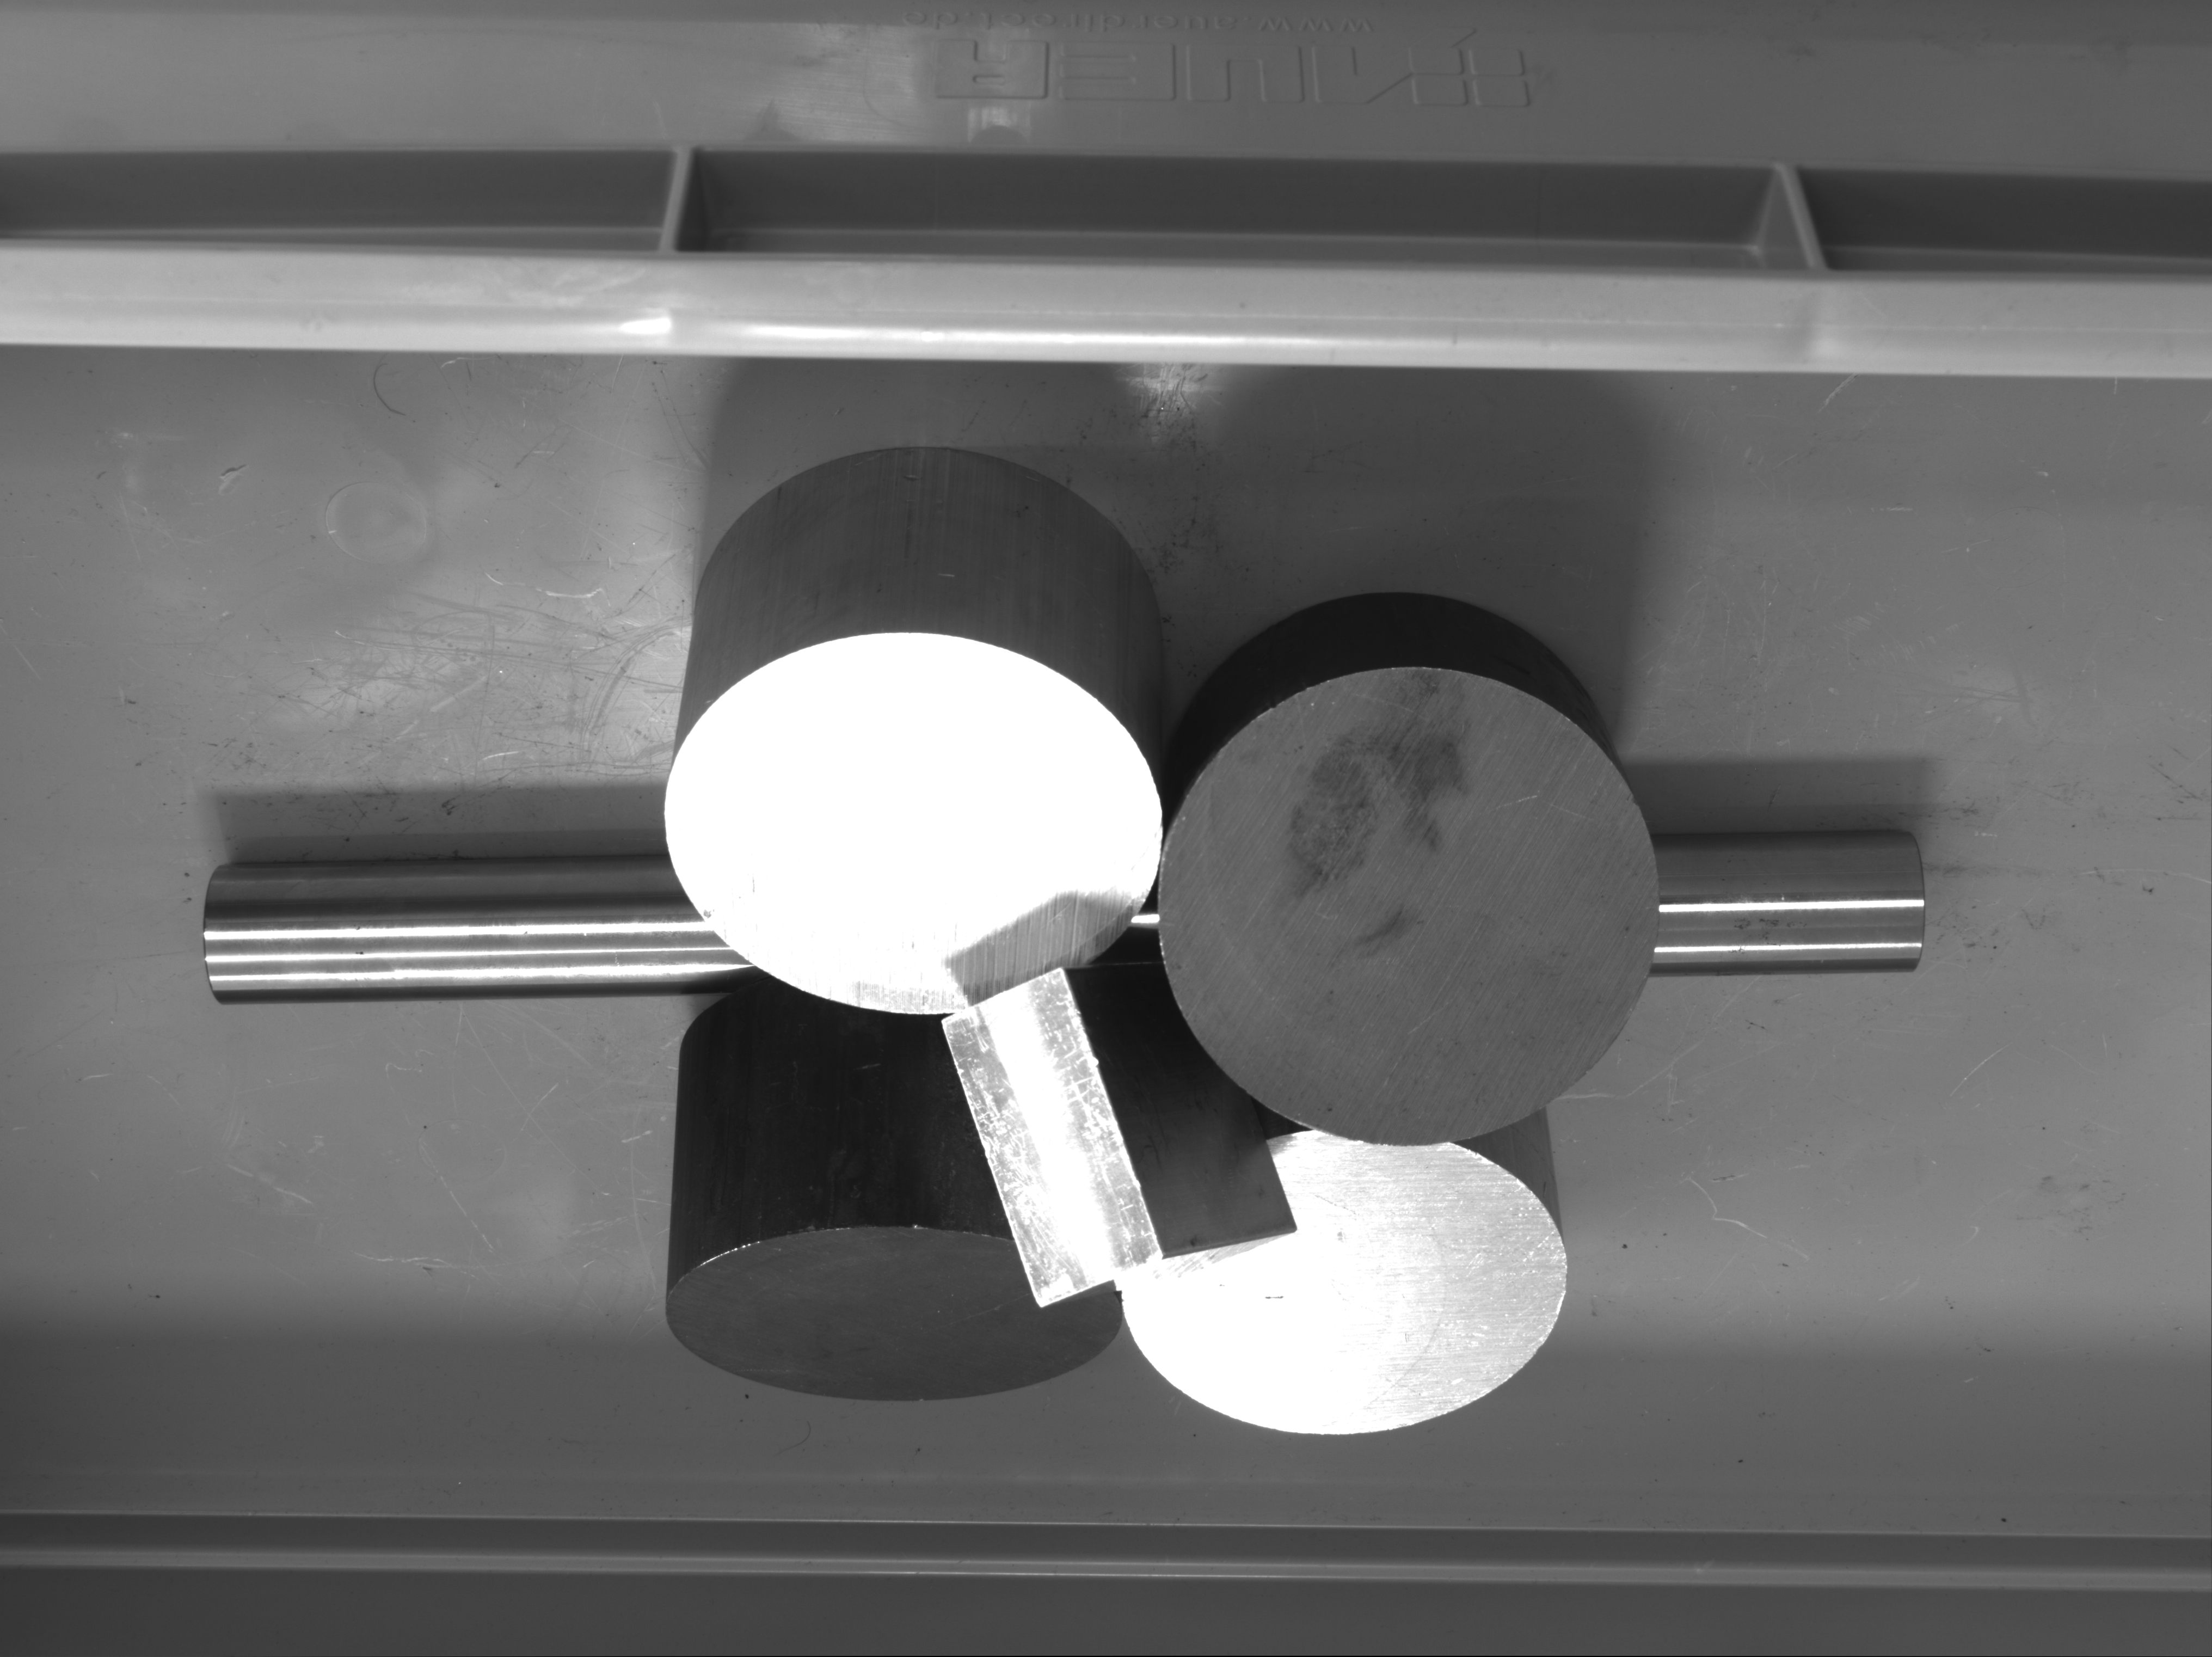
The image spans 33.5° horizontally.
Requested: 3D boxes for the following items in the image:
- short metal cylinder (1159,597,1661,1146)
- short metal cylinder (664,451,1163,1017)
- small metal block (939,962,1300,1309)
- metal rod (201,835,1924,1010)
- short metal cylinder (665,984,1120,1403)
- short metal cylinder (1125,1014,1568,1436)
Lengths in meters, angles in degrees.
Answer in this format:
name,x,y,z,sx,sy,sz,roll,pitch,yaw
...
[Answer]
name,x,y,z,sx,sy,sz,roll,pitch,yaw
short metal cylinder,0.049,0.006,0.610,0.080,0.050,0.080,0,107,0
short metal cylinder,-0.031,-0.015,0.609,0.080,0.050,0.080,0,130,0
small metal block,0.003,0.050,0.617,0.025,0.050,0.050,-25,168,26
metal rod,-0.008,0.017,0.651,0.300,0.025,0.025,-1,130,1
short metal cylinder,-0.038,0.065,0.660,0.080,0.050,0.080,-1,150,0
short metal cylinder,0.043,0.066,0.677,0.080,0.050,0.080,0,130,0
